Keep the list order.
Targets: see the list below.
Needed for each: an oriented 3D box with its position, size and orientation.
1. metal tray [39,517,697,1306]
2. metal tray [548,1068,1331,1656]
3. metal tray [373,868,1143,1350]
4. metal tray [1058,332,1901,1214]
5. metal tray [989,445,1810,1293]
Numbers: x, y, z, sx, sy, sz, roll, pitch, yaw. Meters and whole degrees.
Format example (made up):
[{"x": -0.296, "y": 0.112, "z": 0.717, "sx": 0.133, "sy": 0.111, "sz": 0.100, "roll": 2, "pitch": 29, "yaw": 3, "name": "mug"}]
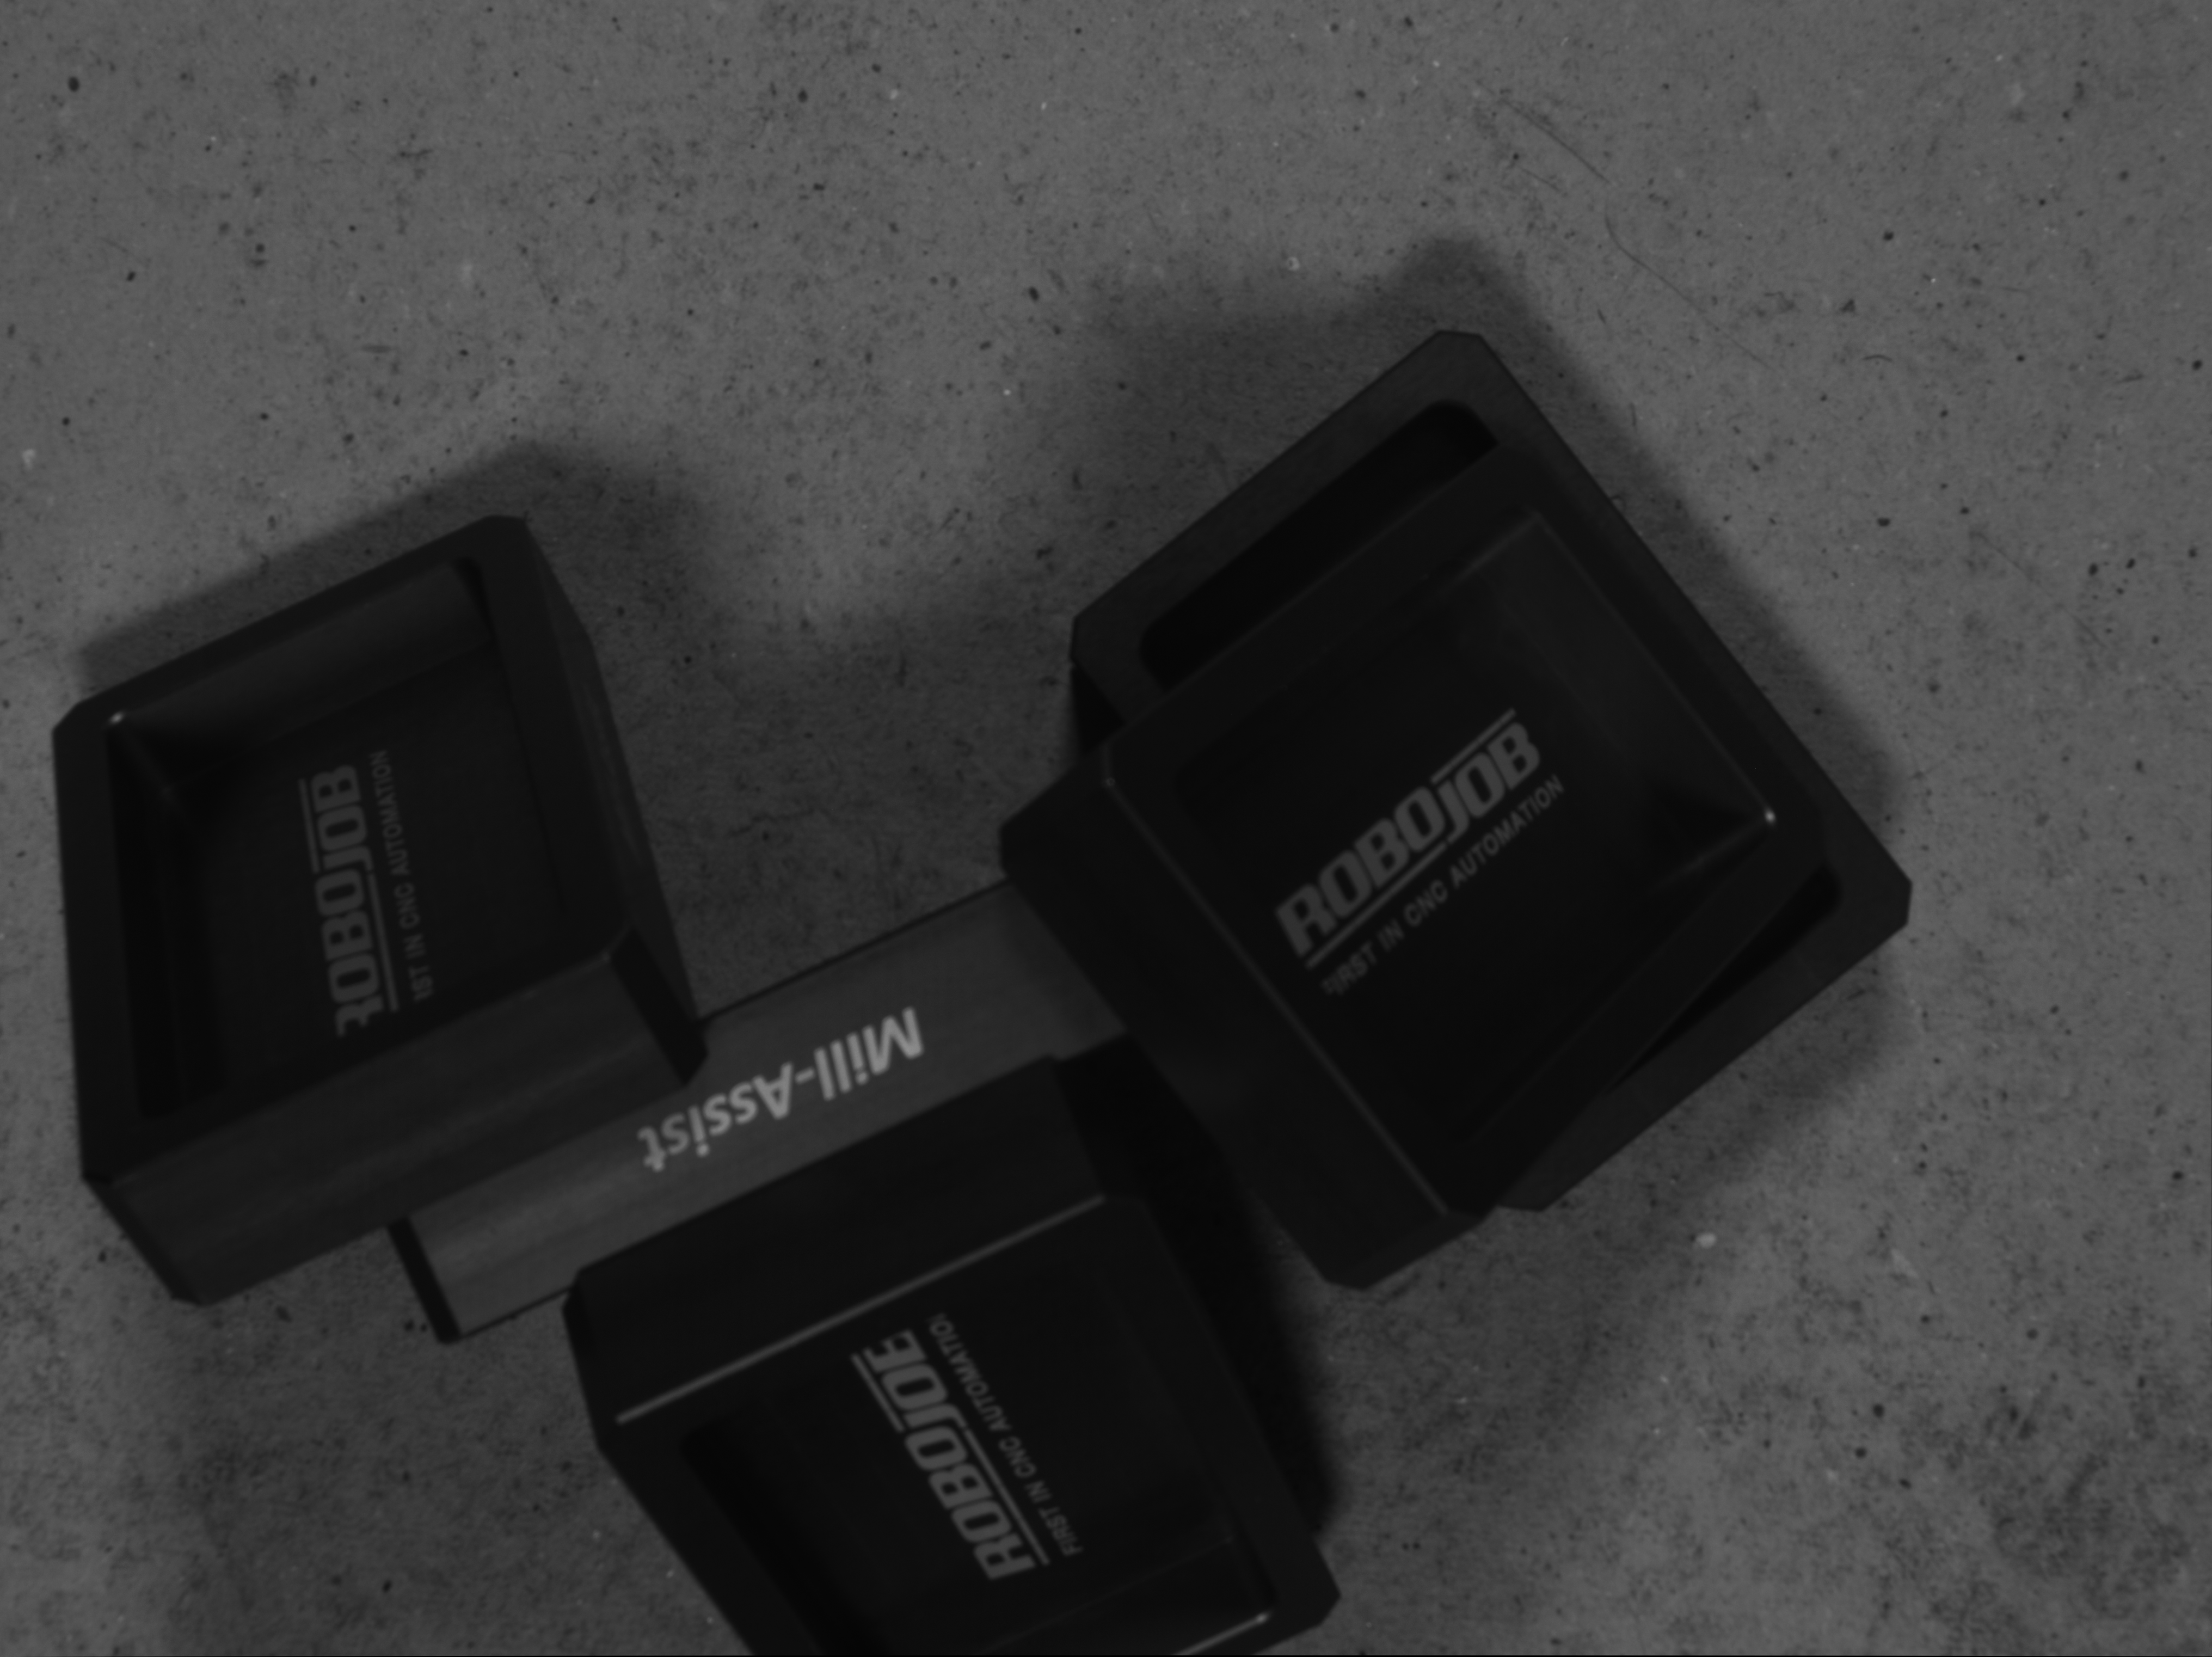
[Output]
[{"x": -0.124, "y": 0.009, "z": 0.597, "sx": 0.090, "sy": 0.130, "sz": 0.030, "roll": -24, "pitch": 129, "yaw": 0, "name": "metal tray"}, {"x": -0.024, "y": 0.105, "z": 0.601, "sx": 0.090, "sy": 0.030, "sz": 0.130, "roll": -25, "pitch": 135, "yaw": 0, "name": "metal tray"}, {"x": -0.053, "y": 0.041, "z": 0.612, "sx": 0.130, "sy": 0.090, "sz": 0.030, "roll": -25, "pitch": 90, "yaw": 0, "name": "metal tray"}, {"x": 0.064, "y": -0.010, "z": 0.643, "sx": 0.090, "sy": 0.030, "sz": 0.130, "roll": -38, "pitch": 90, "yaw": 0, "name": "metal tray"}, {"x": 0.051, "y": 0.003, "z": 0.590, "sx": 0.090, "sy": 0.030, "sz": 0.130, "roll": 52, "pitch": 45, "yaw": -1, "name": "metal tray"}]
